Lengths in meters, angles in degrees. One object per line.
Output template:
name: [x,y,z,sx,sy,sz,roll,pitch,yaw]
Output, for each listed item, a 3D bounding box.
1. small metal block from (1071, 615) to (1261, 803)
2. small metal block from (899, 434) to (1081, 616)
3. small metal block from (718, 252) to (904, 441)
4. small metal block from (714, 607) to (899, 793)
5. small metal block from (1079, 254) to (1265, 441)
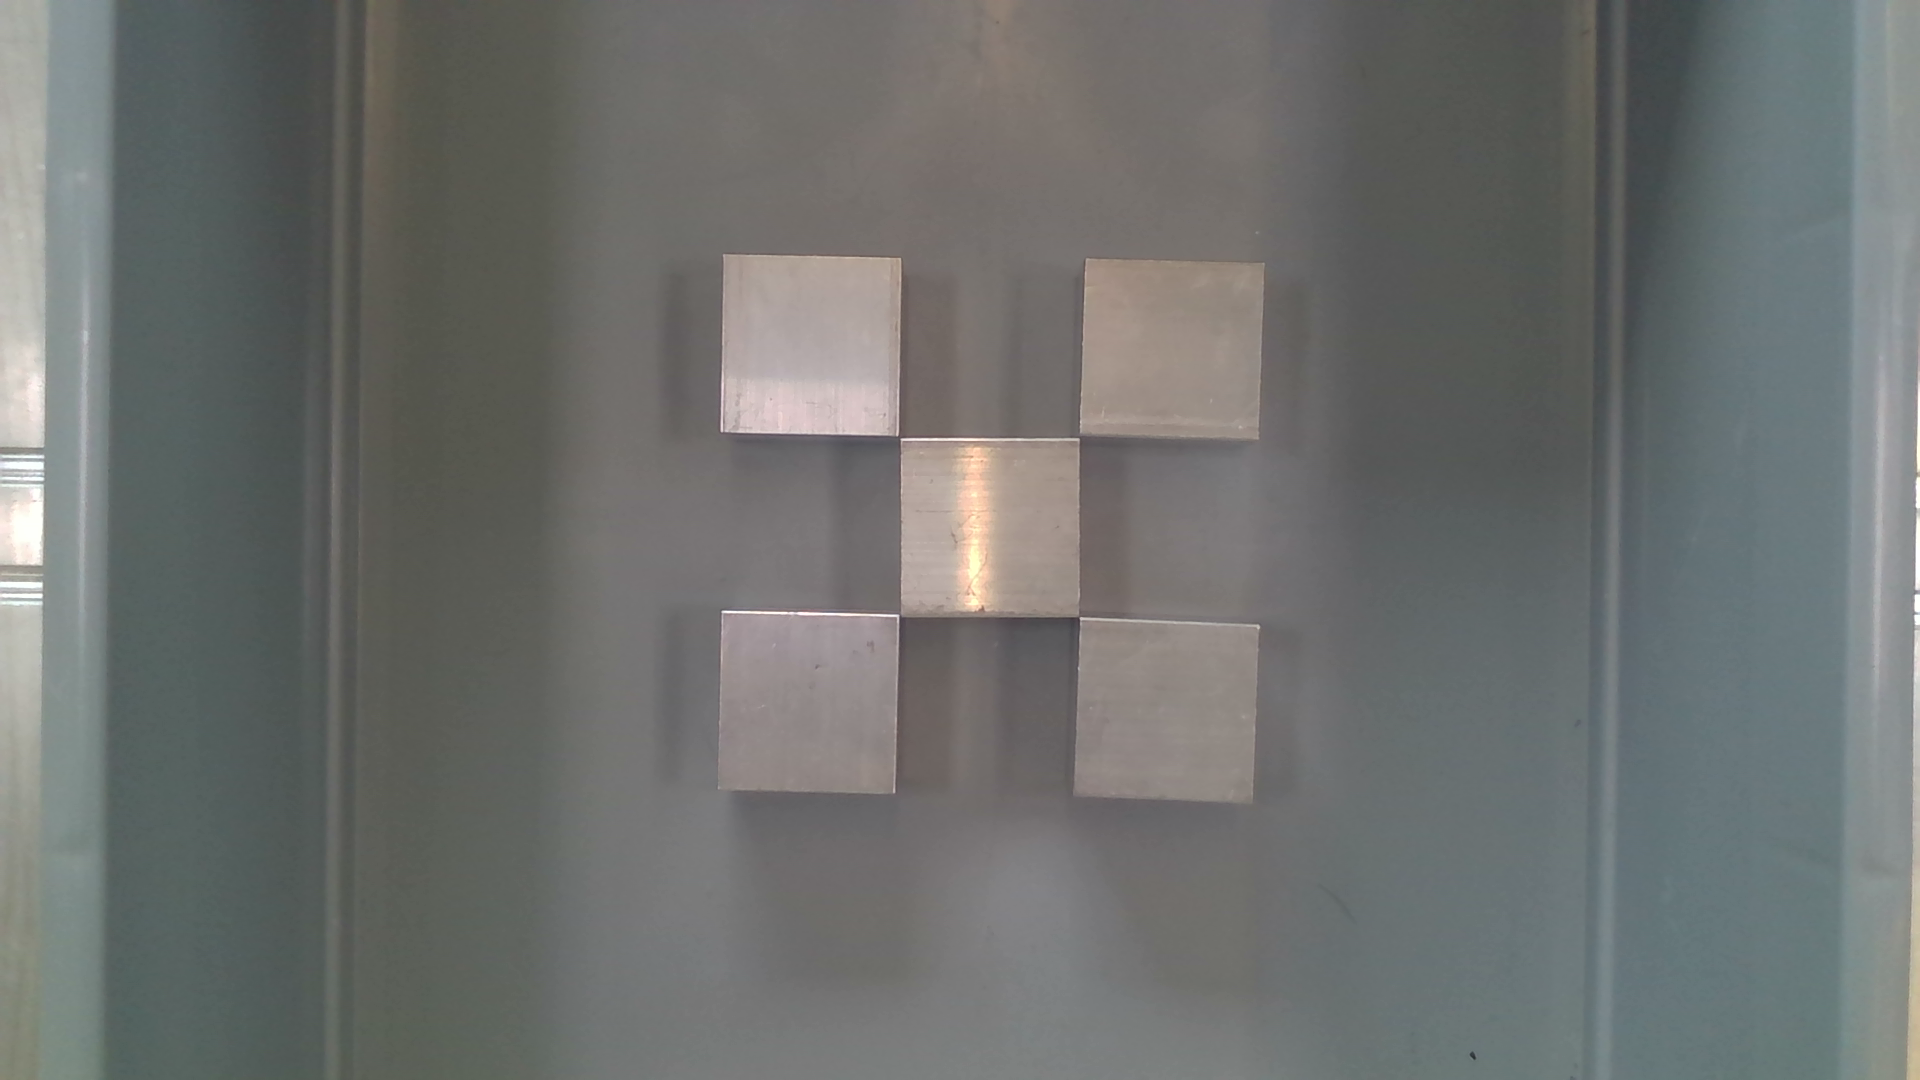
small metal block: [0.057,0.047,0.394,0.050,0.025,0.050,2,90,0]
small metal block: [0.008,-0.004,0.393,0.050,0.025,0.050,0,90,0]
small metal block: [-0.042,-0.054,0.394,0.050,0.025,0.050,1,90,0]
small metal block: [-0.043,0.045,0.394,0.050,0.025,0.050,1,90,0]
small metal block: [0.059,-0.053,0.394,0.050,0.025,0.050,2,90,0]
